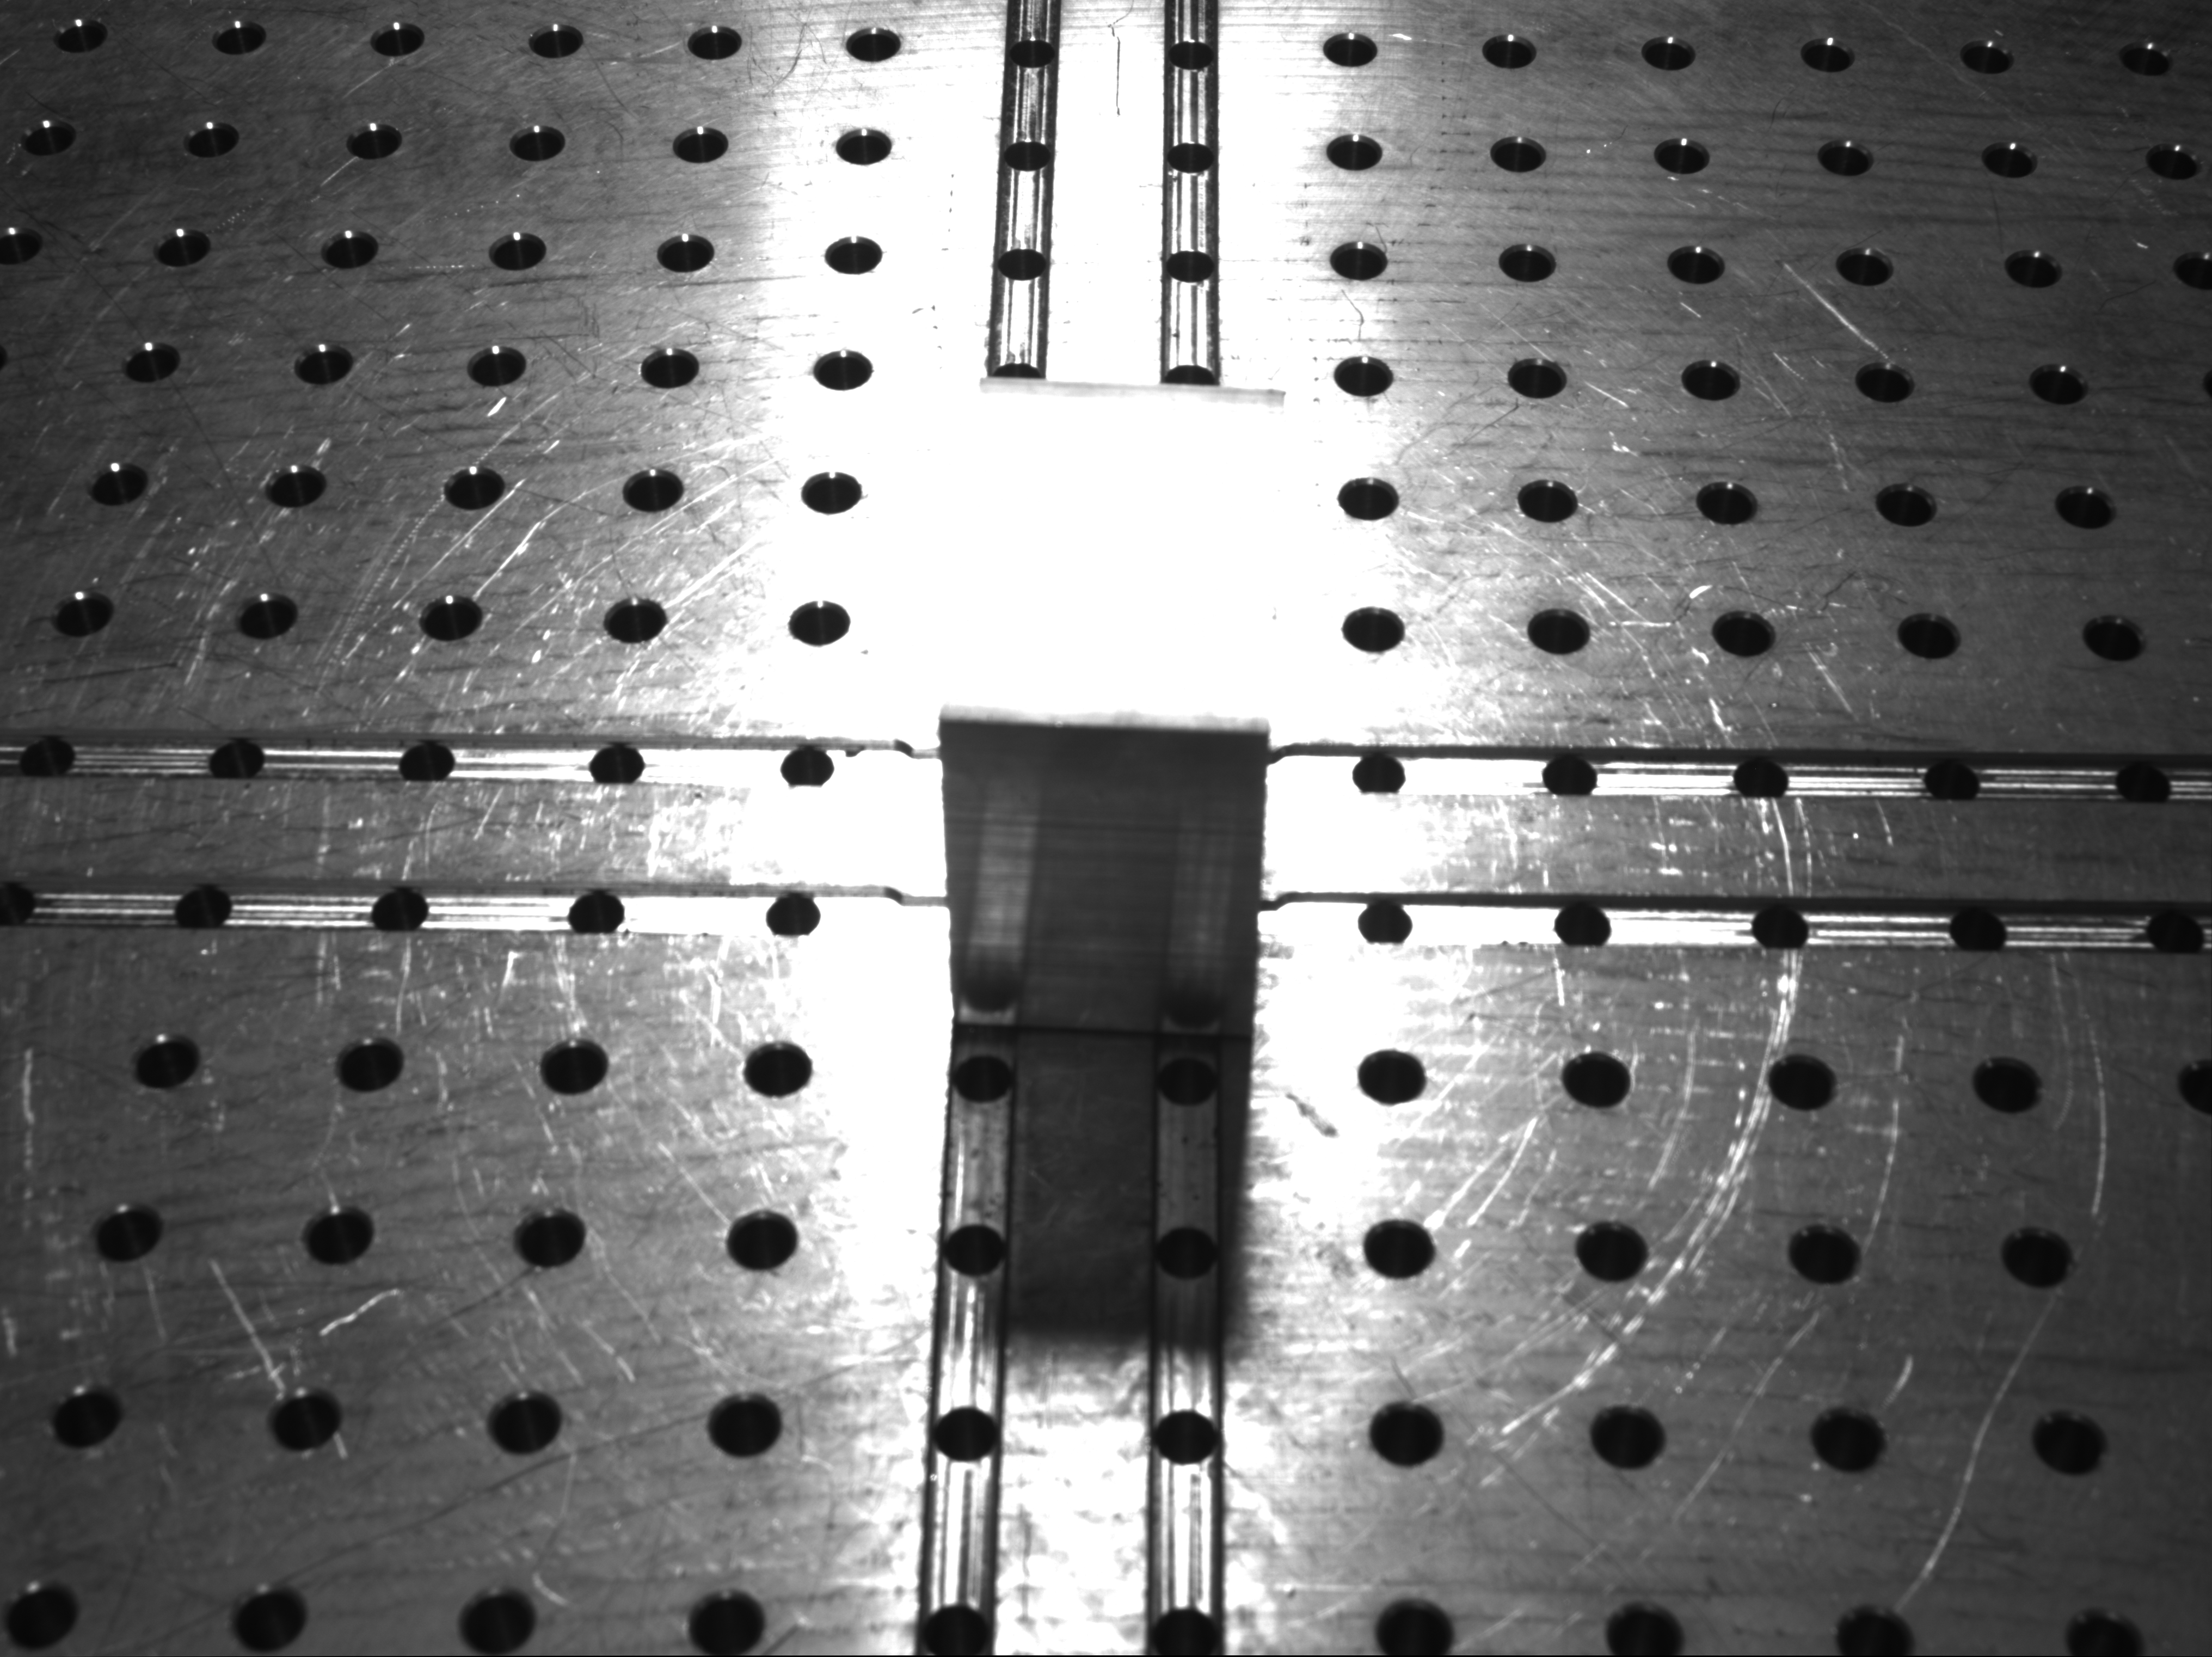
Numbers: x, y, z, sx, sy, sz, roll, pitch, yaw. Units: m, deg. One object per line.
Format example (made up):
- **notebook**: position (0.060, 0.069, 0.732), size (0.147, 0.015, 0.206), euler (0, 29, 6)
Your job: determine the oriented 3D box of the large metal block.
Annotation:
- **large metal block**: position (0.004, -0.020, 0.625), size (0.050, 0.080, 0.080), euler (3, 50, 2)
